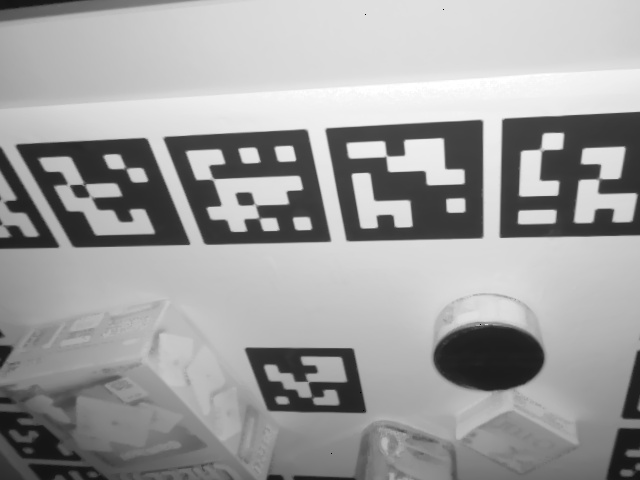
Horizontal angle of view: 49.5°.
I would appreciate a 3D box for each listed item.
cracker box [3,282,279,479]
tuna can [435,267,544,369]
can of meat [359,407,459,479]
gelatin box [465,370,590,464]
[{"bbox_3d":[-0.165,0.150,0.668,0.162,0.073,0.213,-16,127,22],"label":"cracker box"},{"bbox_3d":[0.137,0.064,0.568,0.085,0.034,0.085,3,126,5],"label":"tuna can"},{"bbox_3d":[0.089,0.222,0.687,0.102,0.084,0.057,20,130,-9],"label":"can of meat"},{"bbox_3d":[0.194,0.169,0.654,0.090,0.030,0.072,31,130,-14],"label":"gelatin box"}]
